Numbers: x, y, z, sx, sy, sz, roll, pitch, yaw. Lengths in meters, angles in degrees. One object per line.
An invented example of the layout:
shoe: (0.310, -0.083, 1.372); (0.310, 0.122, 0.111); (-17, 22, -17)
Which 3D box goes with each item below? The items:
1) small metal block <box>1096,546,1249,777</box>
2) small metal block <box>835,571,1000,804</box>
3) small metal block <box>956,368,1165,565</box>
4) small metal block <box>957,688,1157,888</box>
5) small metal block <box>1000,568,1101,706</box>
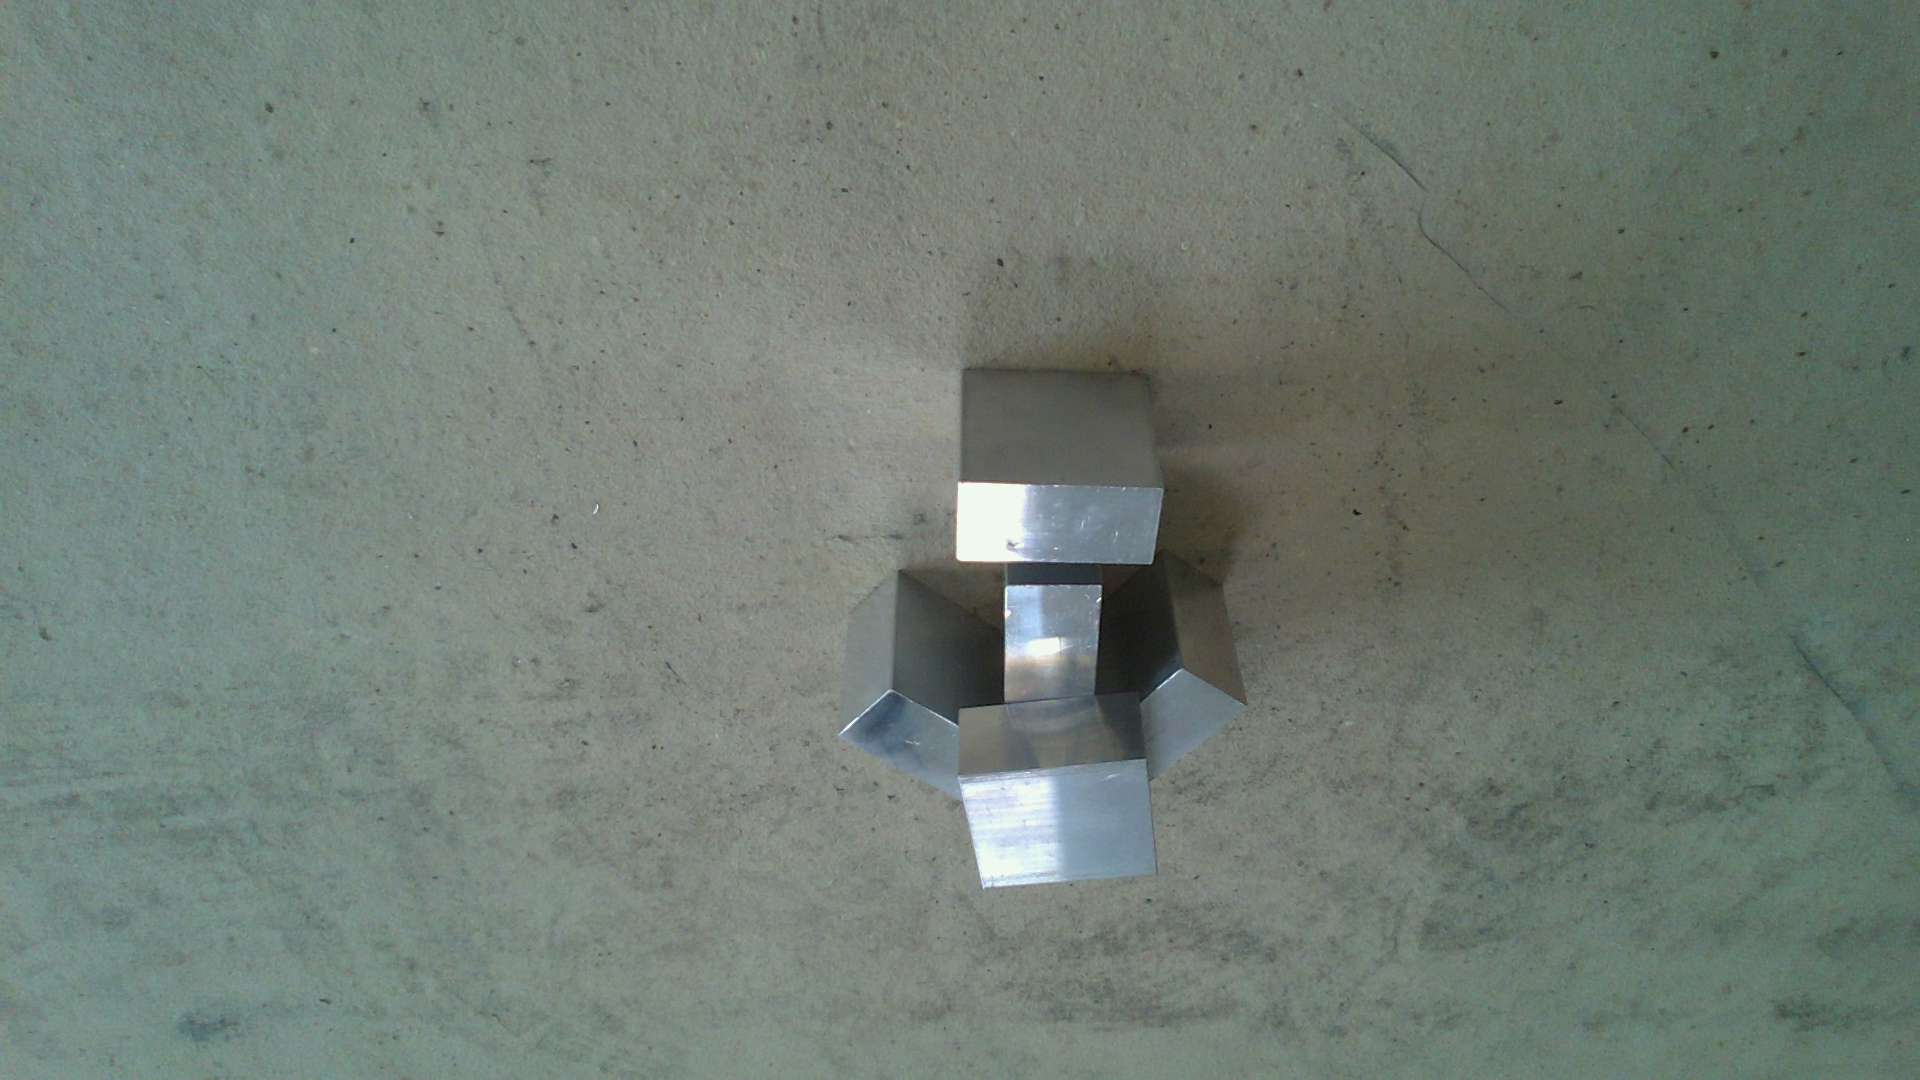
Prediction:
small metal block: (0.055, 0.039, 0.409); (0.025, 0.050, 0.050); (30, 124, -23)
small metal block: (-0.008, 0.045, 0.412); (0.050, 0.050, 0.025); (32, 123, -25)
small metal block: (0.024, -0.020, 0.358); (0.050, 0.050, 0.025); (1, 130, -1)
small metal block: (0.028, 0.070, 0.386); (0.050, 0.025, 0.050); (-6, 129, 5)
small metal block: (0.024, 0.014, 0.388); (0.025, 0.050, 0.050); (-1, 130, 0)
